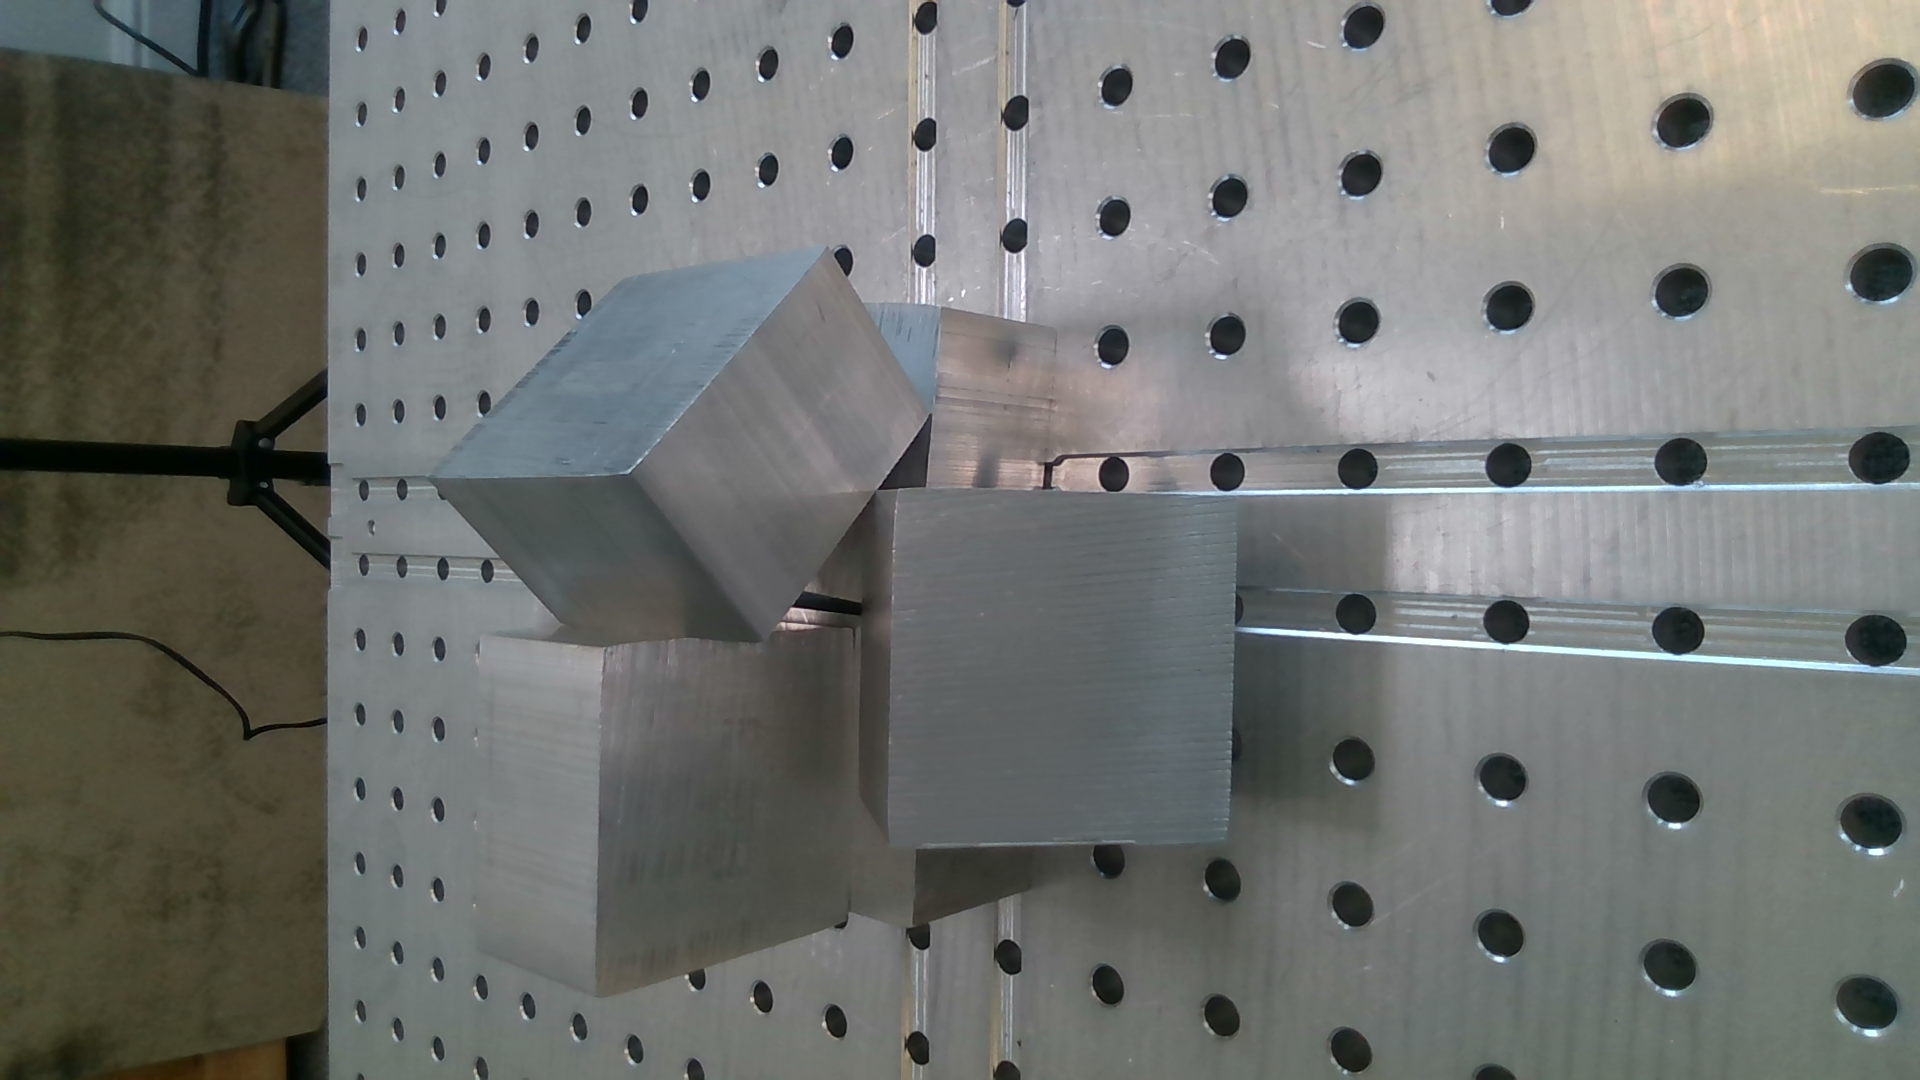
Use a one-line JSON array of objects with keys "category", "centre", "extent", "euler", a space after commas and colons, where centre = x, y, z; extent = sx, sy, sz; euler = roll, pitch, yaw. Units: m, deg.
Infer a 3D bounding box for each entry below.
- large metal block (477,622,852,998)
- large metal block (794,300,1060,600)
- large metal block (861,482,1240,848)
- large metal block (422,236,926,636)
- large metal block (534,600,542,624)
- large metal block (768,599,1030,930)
[{"category": "large metal block", "centre": [-0.074, 0.062, 0.356], "extent": [0.050, 0.080, 0.080], "euler": [2, 92, 40]}, {"category": "large metal block", "centre": [-0.022, -0.026, 0.396], "extent": [0.080, 0.050, 0.080], "euler": [9, 96, 40]}, {"category": "large metal block", "centre": [0.019, 0.028, 0.332], "extent": [0.050, 0.080, 0.080], "euler": [-171, 82, -78]}, {"category": "large metal block", "centre": [-0.069, -0.025, 0.339], "extent": [0.080, 0.050, 0.080], "euler": [1, 46, 41]}, {"category": "large metal block", "centre": [-0.100, 0.019, 0.435], "extent": [0.080, 0.050, 0.080], "euler": [-163, 74, -84]}, {"category": "large metal block", "centre": [-0.026, 0.059, 0.399], "extent": [0.080, 0.050, 0.080], "euler": [4, 93, 40]}]
